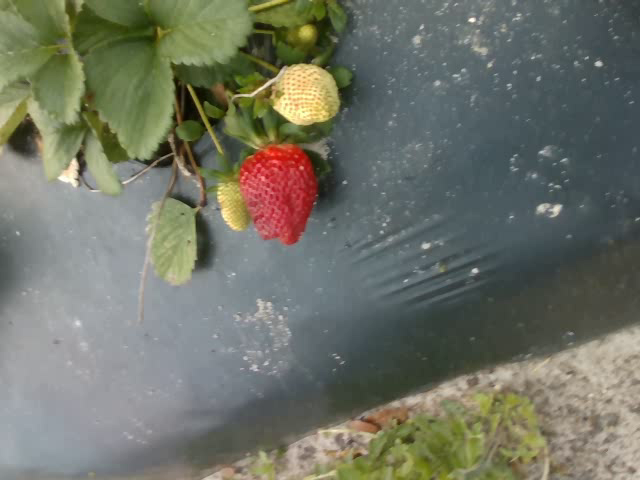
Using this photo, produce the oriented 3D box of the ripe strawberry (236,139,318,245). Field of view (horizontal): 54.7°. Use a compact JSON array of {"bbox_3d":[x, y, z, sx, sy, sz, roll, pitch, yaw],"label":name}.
[{"bbox_3d":[-0.018,-0.020,0.315,0.046,0.059,0.045,-25,-26,36],"label":"ripe strawberry"}]
